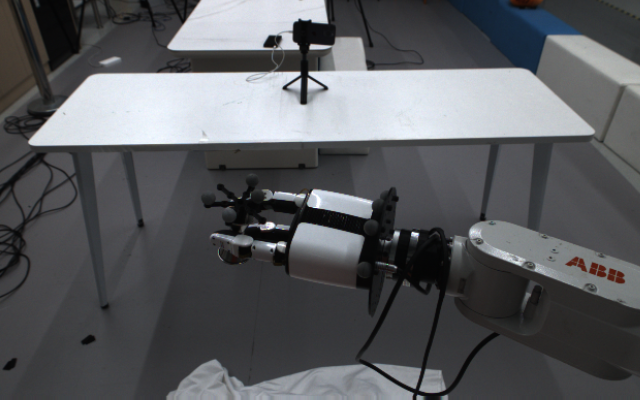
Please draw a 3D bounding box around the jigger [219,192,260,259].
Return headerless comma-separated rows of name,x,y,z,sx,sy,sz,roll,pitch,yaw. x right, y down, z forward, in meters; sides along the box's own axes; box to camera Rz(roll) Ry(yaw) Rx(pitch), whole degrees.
jigger,-0.108,0.044,0.628,0.043,0.071,0.043,10,36,-7
